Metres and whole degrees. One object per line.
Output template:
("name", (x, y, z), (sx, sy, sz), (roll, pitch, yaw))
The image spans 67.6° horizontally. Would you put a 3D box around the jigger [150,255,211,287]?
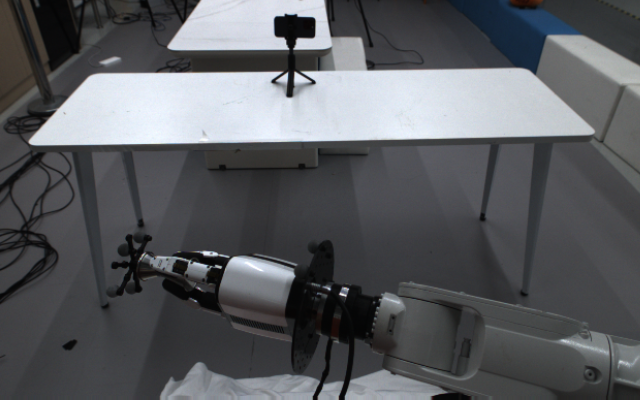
("jigger", (-0.189, 0.087, 0.624), (0.071, 0.043, 0.043), (7, 35, 13))
